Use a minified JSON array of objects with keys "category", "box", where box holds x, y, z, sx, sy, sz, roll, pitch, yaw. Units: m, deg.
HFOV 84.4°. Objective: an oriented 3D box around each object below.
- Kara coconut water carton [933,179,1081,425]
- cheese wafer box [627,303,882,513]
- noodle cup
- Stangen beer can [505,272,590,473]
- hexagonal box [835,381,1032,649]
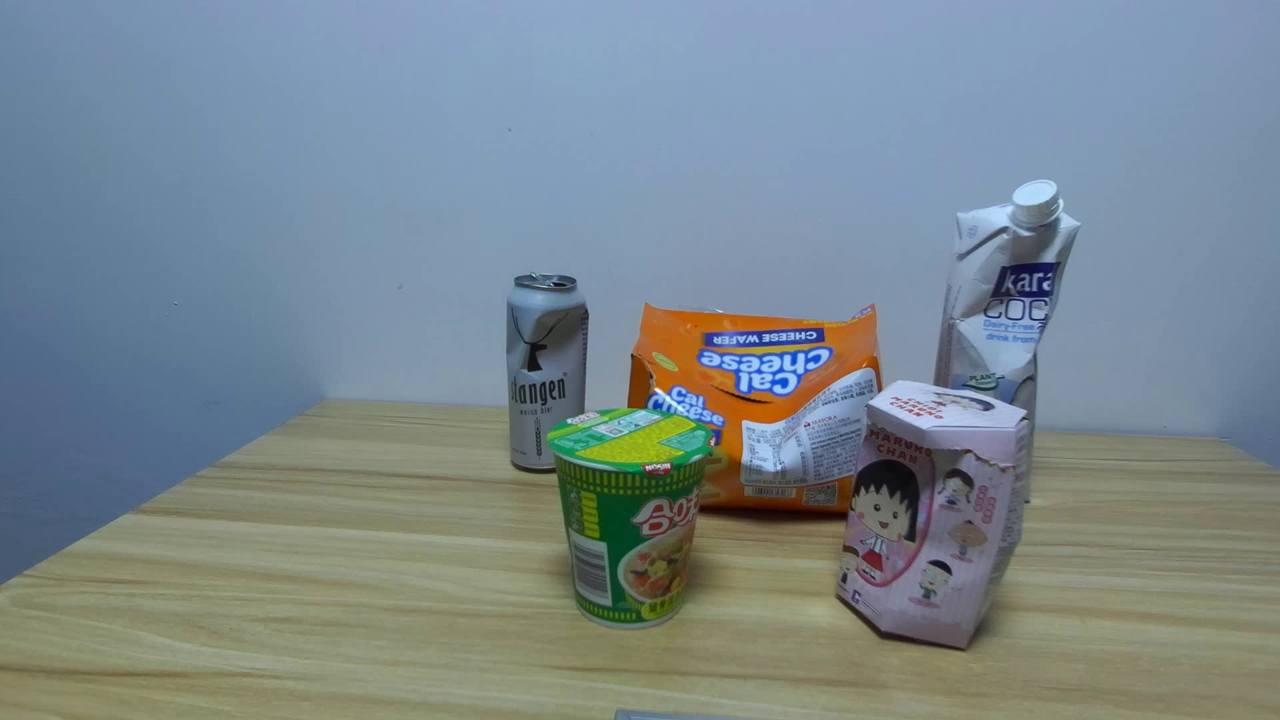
[{"category":"Kara coconut water carton","box":[0.284,-0.014,0.568,0.083,0.255,0.078,2,19,5]},{"category":"cheese wafer box","box":[0.099,0.035,0.591,0.219,0.145,0.191,3,15,6]},{"category":"noodle cup","box":[-0.007,0.095,0.425,0.097,0.110,0.097,2,15,0]},{"category":"Stangen beer can","box":[-0.082,0.010,0.623,0.070,0.173,0.069,3,16,6]},{"category":"hexagonal box","box":[0.173,0.088,0.421,0.090,0.134,0.091,9,16,16]}]
